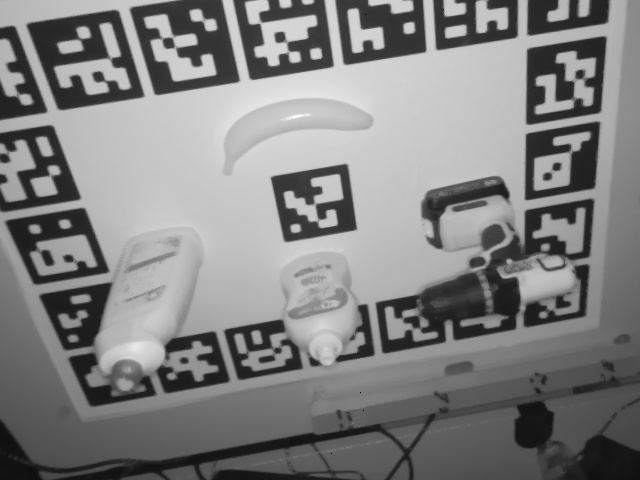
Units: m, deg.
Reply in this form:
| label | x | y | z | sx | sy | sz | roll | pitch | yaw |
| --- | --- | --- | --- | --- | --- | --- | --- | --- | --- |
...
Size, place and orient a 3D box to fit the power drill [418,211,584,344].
| label | x | y | z | sx | sy | sz | roll | pitch | yaw |
| --- | --- | --- | --- | --- | --- | --- | --- | --- | --- |
| power drill | 0.188 | 0.042 | 0.814 | 0.185 | 0.187 | 0.057 | -15 | 119 | -1 |

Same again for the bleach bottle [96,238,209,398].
| label | x | y | z | sx | sy | sz | roll | pitch | yaw |
| --- | --- | --- | --- | --- | --- | --- | --- | --- | --- |
| bleach bottle | -0.191 | 0.086 | 0.800 | 0.103 | 0.252 | 0.067 | -1 | 119 | -3 |

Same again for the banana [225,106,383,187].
| label | x | y | z | sx | sy | sz | roll | pitch | yaw |
| --- | --- | --- | --- | --- | --- | --- | --- | --- | --- |
| banana | -0.025 | -0.120 | 0.816 | 0.198 | 0.039 | 0.074 | -15 | 117 | -1 |

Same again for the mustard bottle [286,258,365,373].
| label | x | y | z | sx | sy | sz | roll | pitch | yaw |
| --- | --- | --- | --- | --- | --- | --- | --- | --- | --- |
| mustard bottle | 0.006 | 0.096 | 0.861 | 0.096 | 0.192 | 0.058 | -15 | 119 | 6 |
